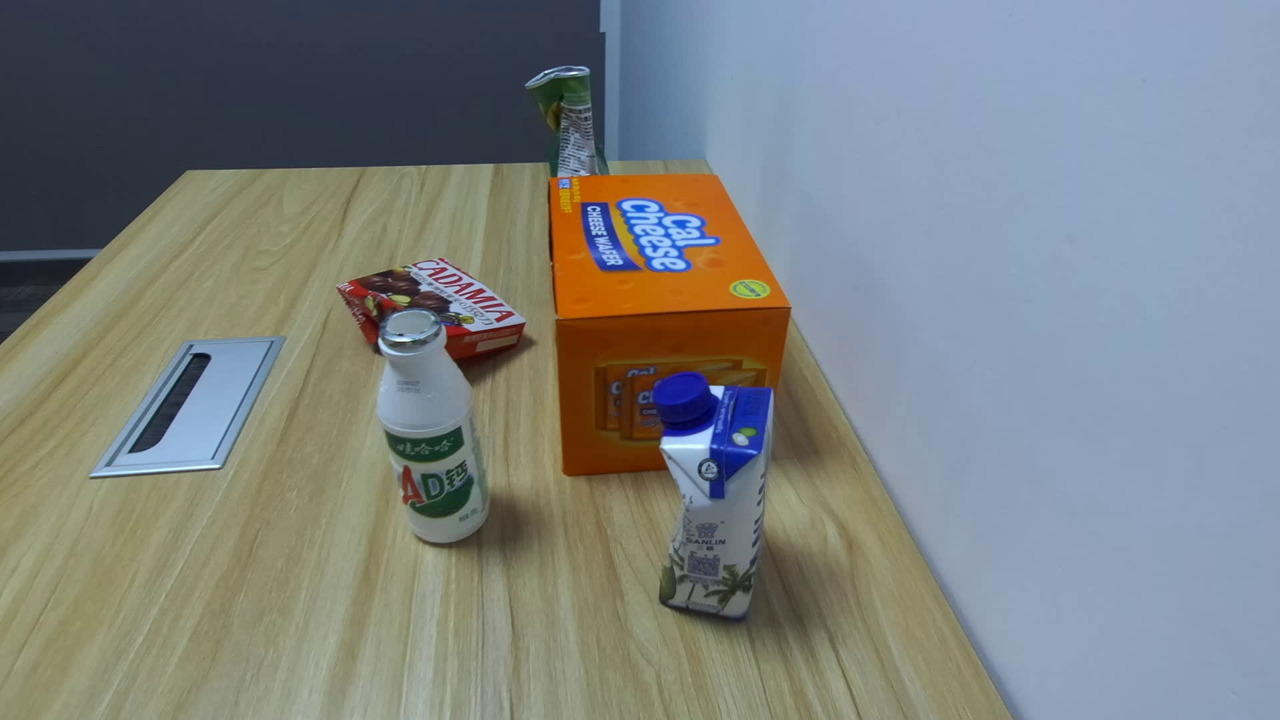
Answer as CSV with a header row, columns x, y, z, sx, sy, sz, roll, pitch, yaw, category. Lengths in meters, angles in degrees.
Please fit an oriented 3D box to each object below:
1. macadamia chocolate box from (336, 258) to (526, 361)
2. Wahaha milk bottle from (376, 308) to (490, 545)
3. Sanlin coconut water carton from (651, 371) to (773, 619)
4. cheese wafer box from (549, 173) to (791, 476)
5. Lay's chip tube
x,y,z,sx,sy,sz,roll,pitch,yaw,category
-0.167,-0.042,0.595,0.126,0.056,0.112,26,45,29,macadamia chocolate box
-0.120,0.044,0.409,0.053,0.137,0.053,1,37,0,Wahaha milk bottle
0.039,0.071,0.376,0.057,0.142,0.078,5,35,14,Sanlin coconut water carton
0.008,-0.039,0.536,0.148,0.129,0.221,-4,37,-7,cheese wafer box
-0.060,-0.170,0.657,0.071,0.199,0.079,1,33,10,Lay's chip tube
